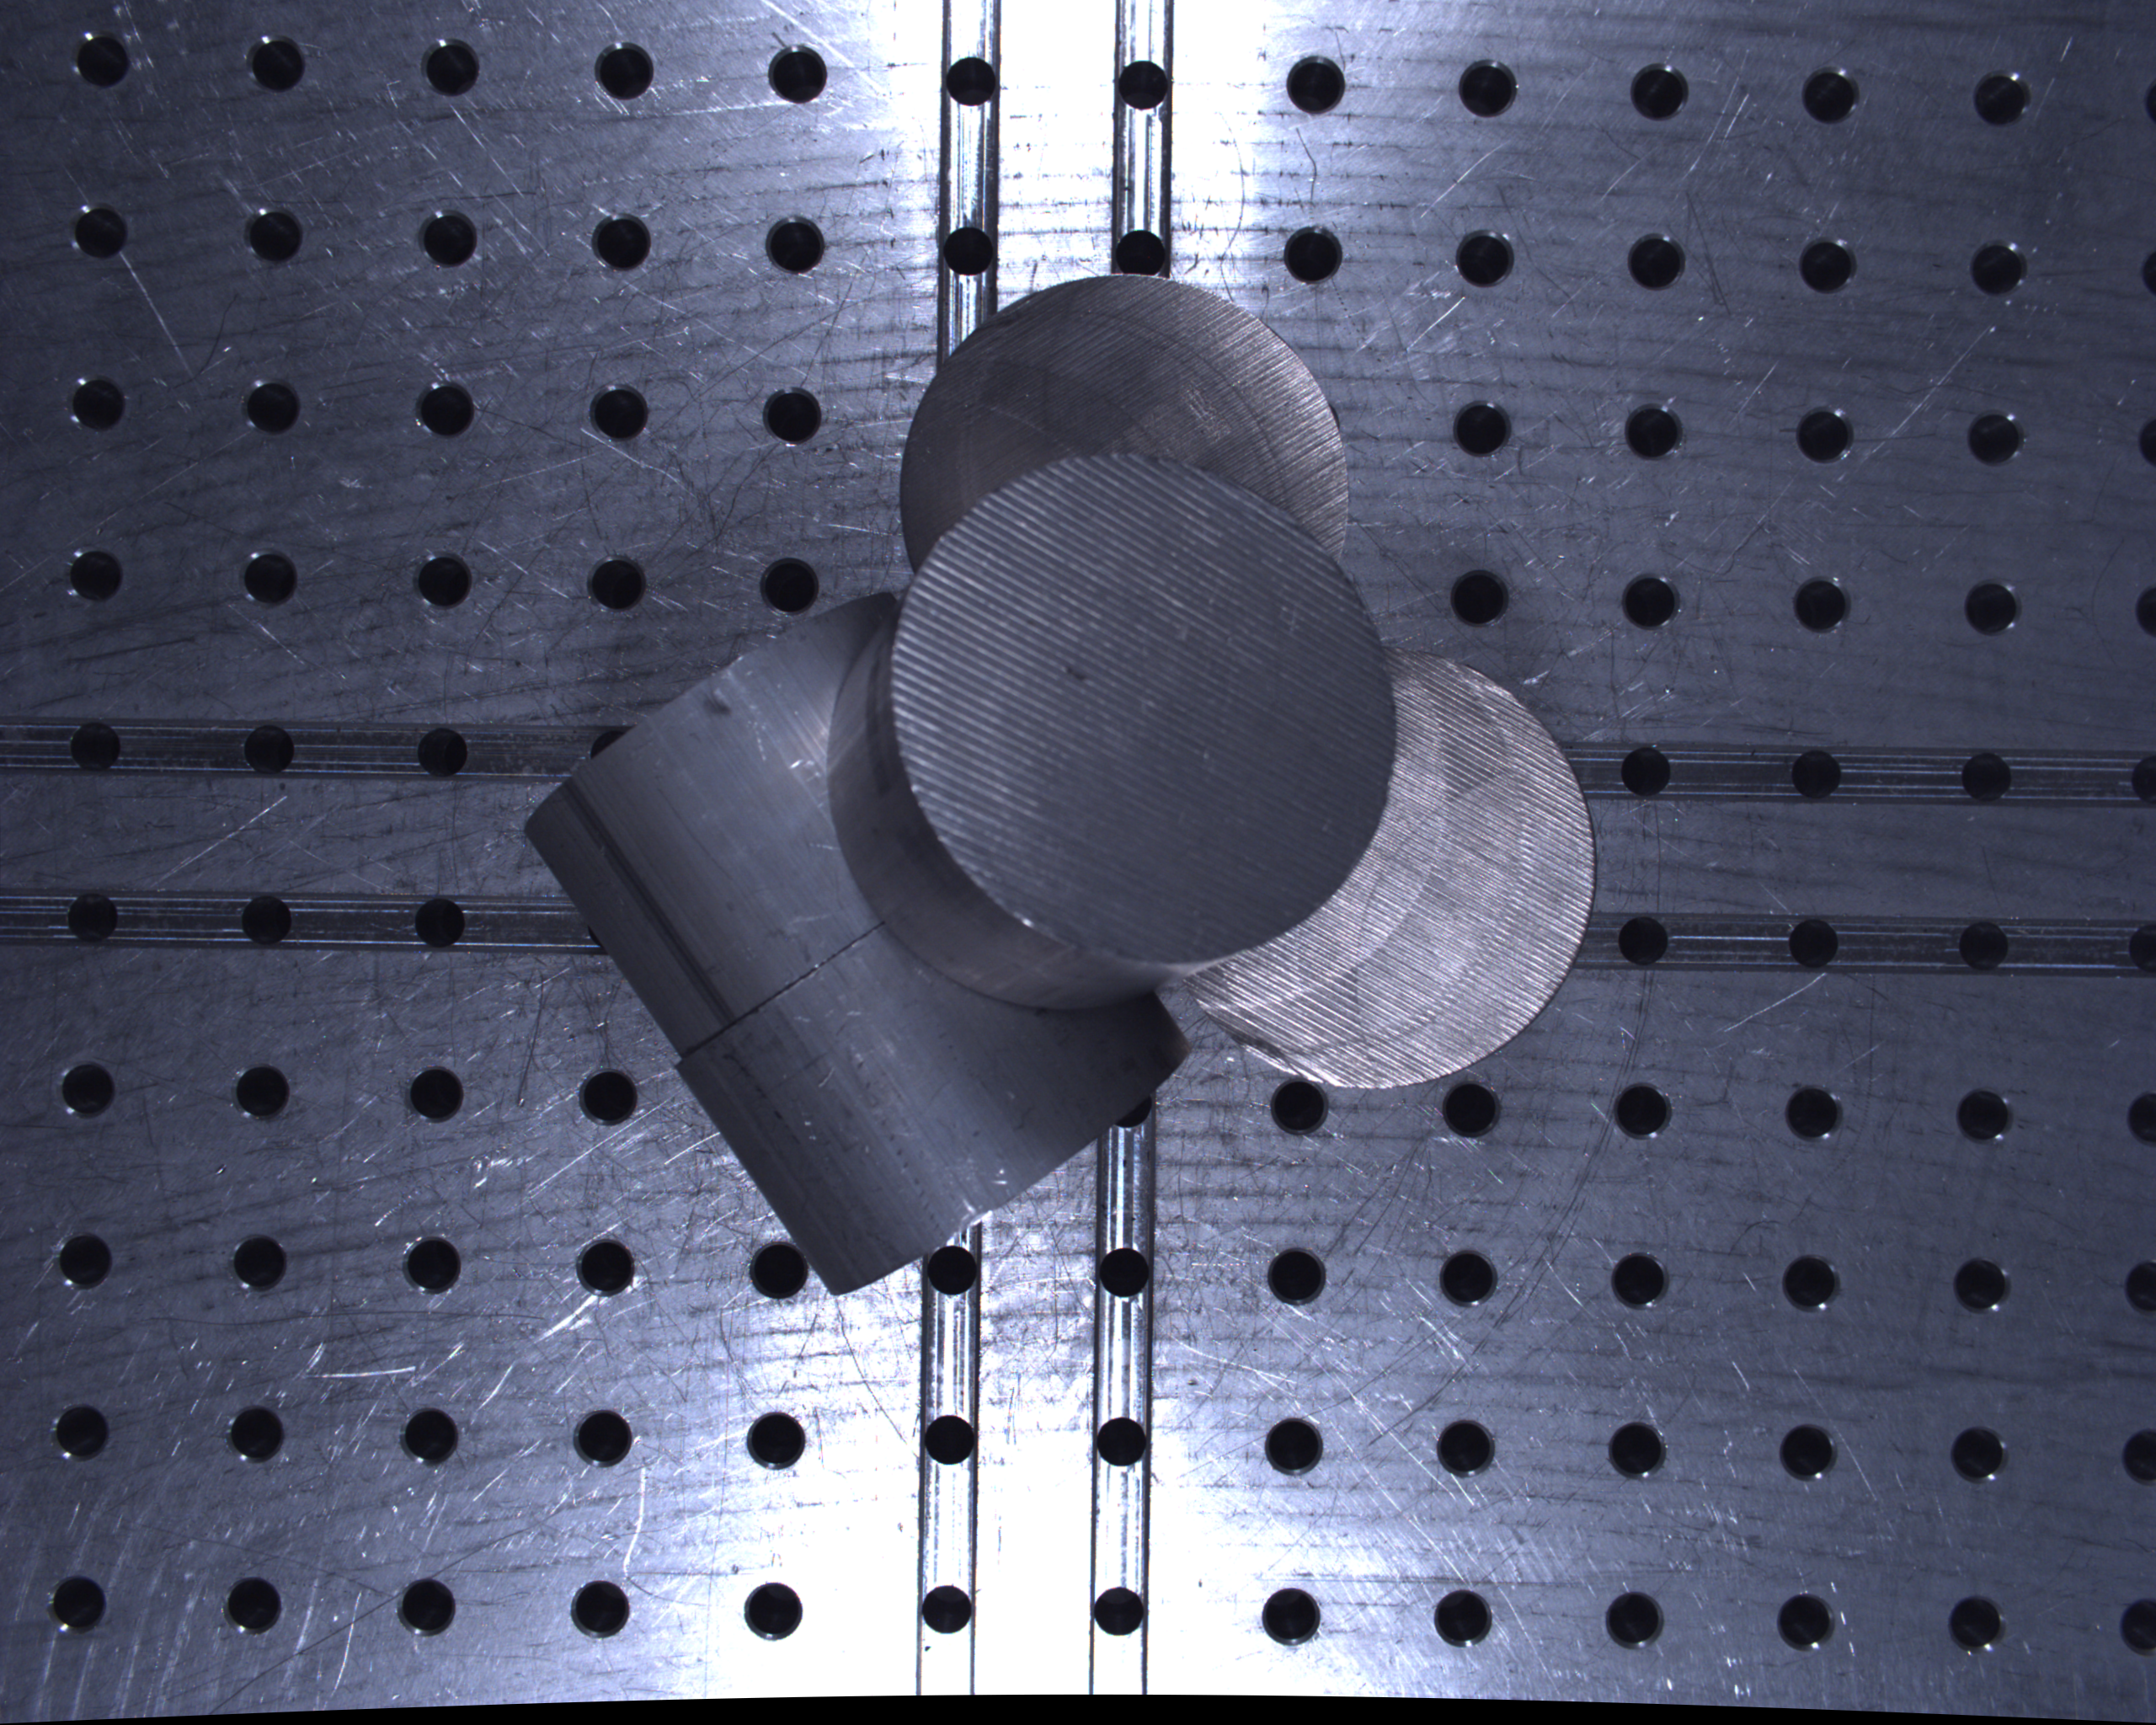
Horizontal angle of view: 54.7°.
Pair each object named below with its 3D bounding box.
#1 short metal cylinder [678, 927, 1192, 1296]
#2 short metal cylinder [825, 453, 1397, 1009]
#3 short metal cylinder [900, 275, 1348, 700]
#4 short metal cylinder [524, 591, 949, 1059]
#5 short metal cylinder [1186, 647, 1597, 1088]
[{"bbox_3d":[-0.026,0.036,0.385,0.080,0.080,0.050,-34,90,0],"label":"short metal cylinder"},{"bbox_3d":[0.004,-0.019,0.337,0.081,0.050,0.080,4,77,-17],"label":"short metal cylinder"},{"bbox_3d":[0.008,-0.066,0.400,0.081,0.050,0.079,0,90,-1],"label":"short metal cylinder"},{"bbox_3d":[-0.053,-0.007,0.385,0.080,0.080,0.050,-34,90,0],"label":"short metal cylinder"},{"bbox_3d":[0.053,0.001,0.401,0.081,0.050,0.079,0,90,-1],"label":"short metal cylinder"}]
